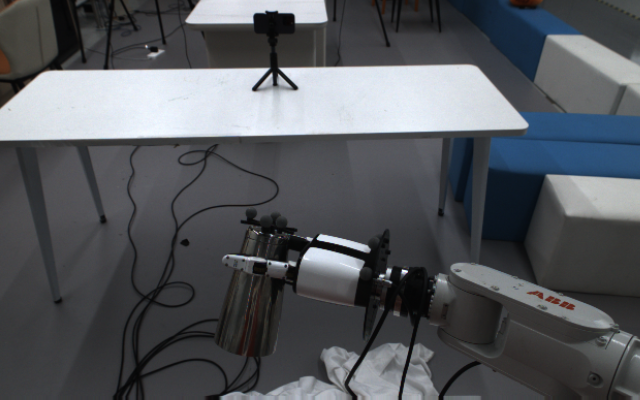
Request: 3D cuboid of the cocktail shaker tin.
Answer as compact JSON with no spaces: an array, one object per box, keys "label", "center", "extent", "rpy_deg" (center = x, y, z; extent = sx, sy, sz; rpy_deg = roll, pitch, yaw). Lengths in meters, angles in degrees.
[{"label":"cocktail shaker tin","center":[-0.091,0.127,0.710],"extent":[0.093,0.170,0.093],"rpy_deg":[13,3,-1]}]
